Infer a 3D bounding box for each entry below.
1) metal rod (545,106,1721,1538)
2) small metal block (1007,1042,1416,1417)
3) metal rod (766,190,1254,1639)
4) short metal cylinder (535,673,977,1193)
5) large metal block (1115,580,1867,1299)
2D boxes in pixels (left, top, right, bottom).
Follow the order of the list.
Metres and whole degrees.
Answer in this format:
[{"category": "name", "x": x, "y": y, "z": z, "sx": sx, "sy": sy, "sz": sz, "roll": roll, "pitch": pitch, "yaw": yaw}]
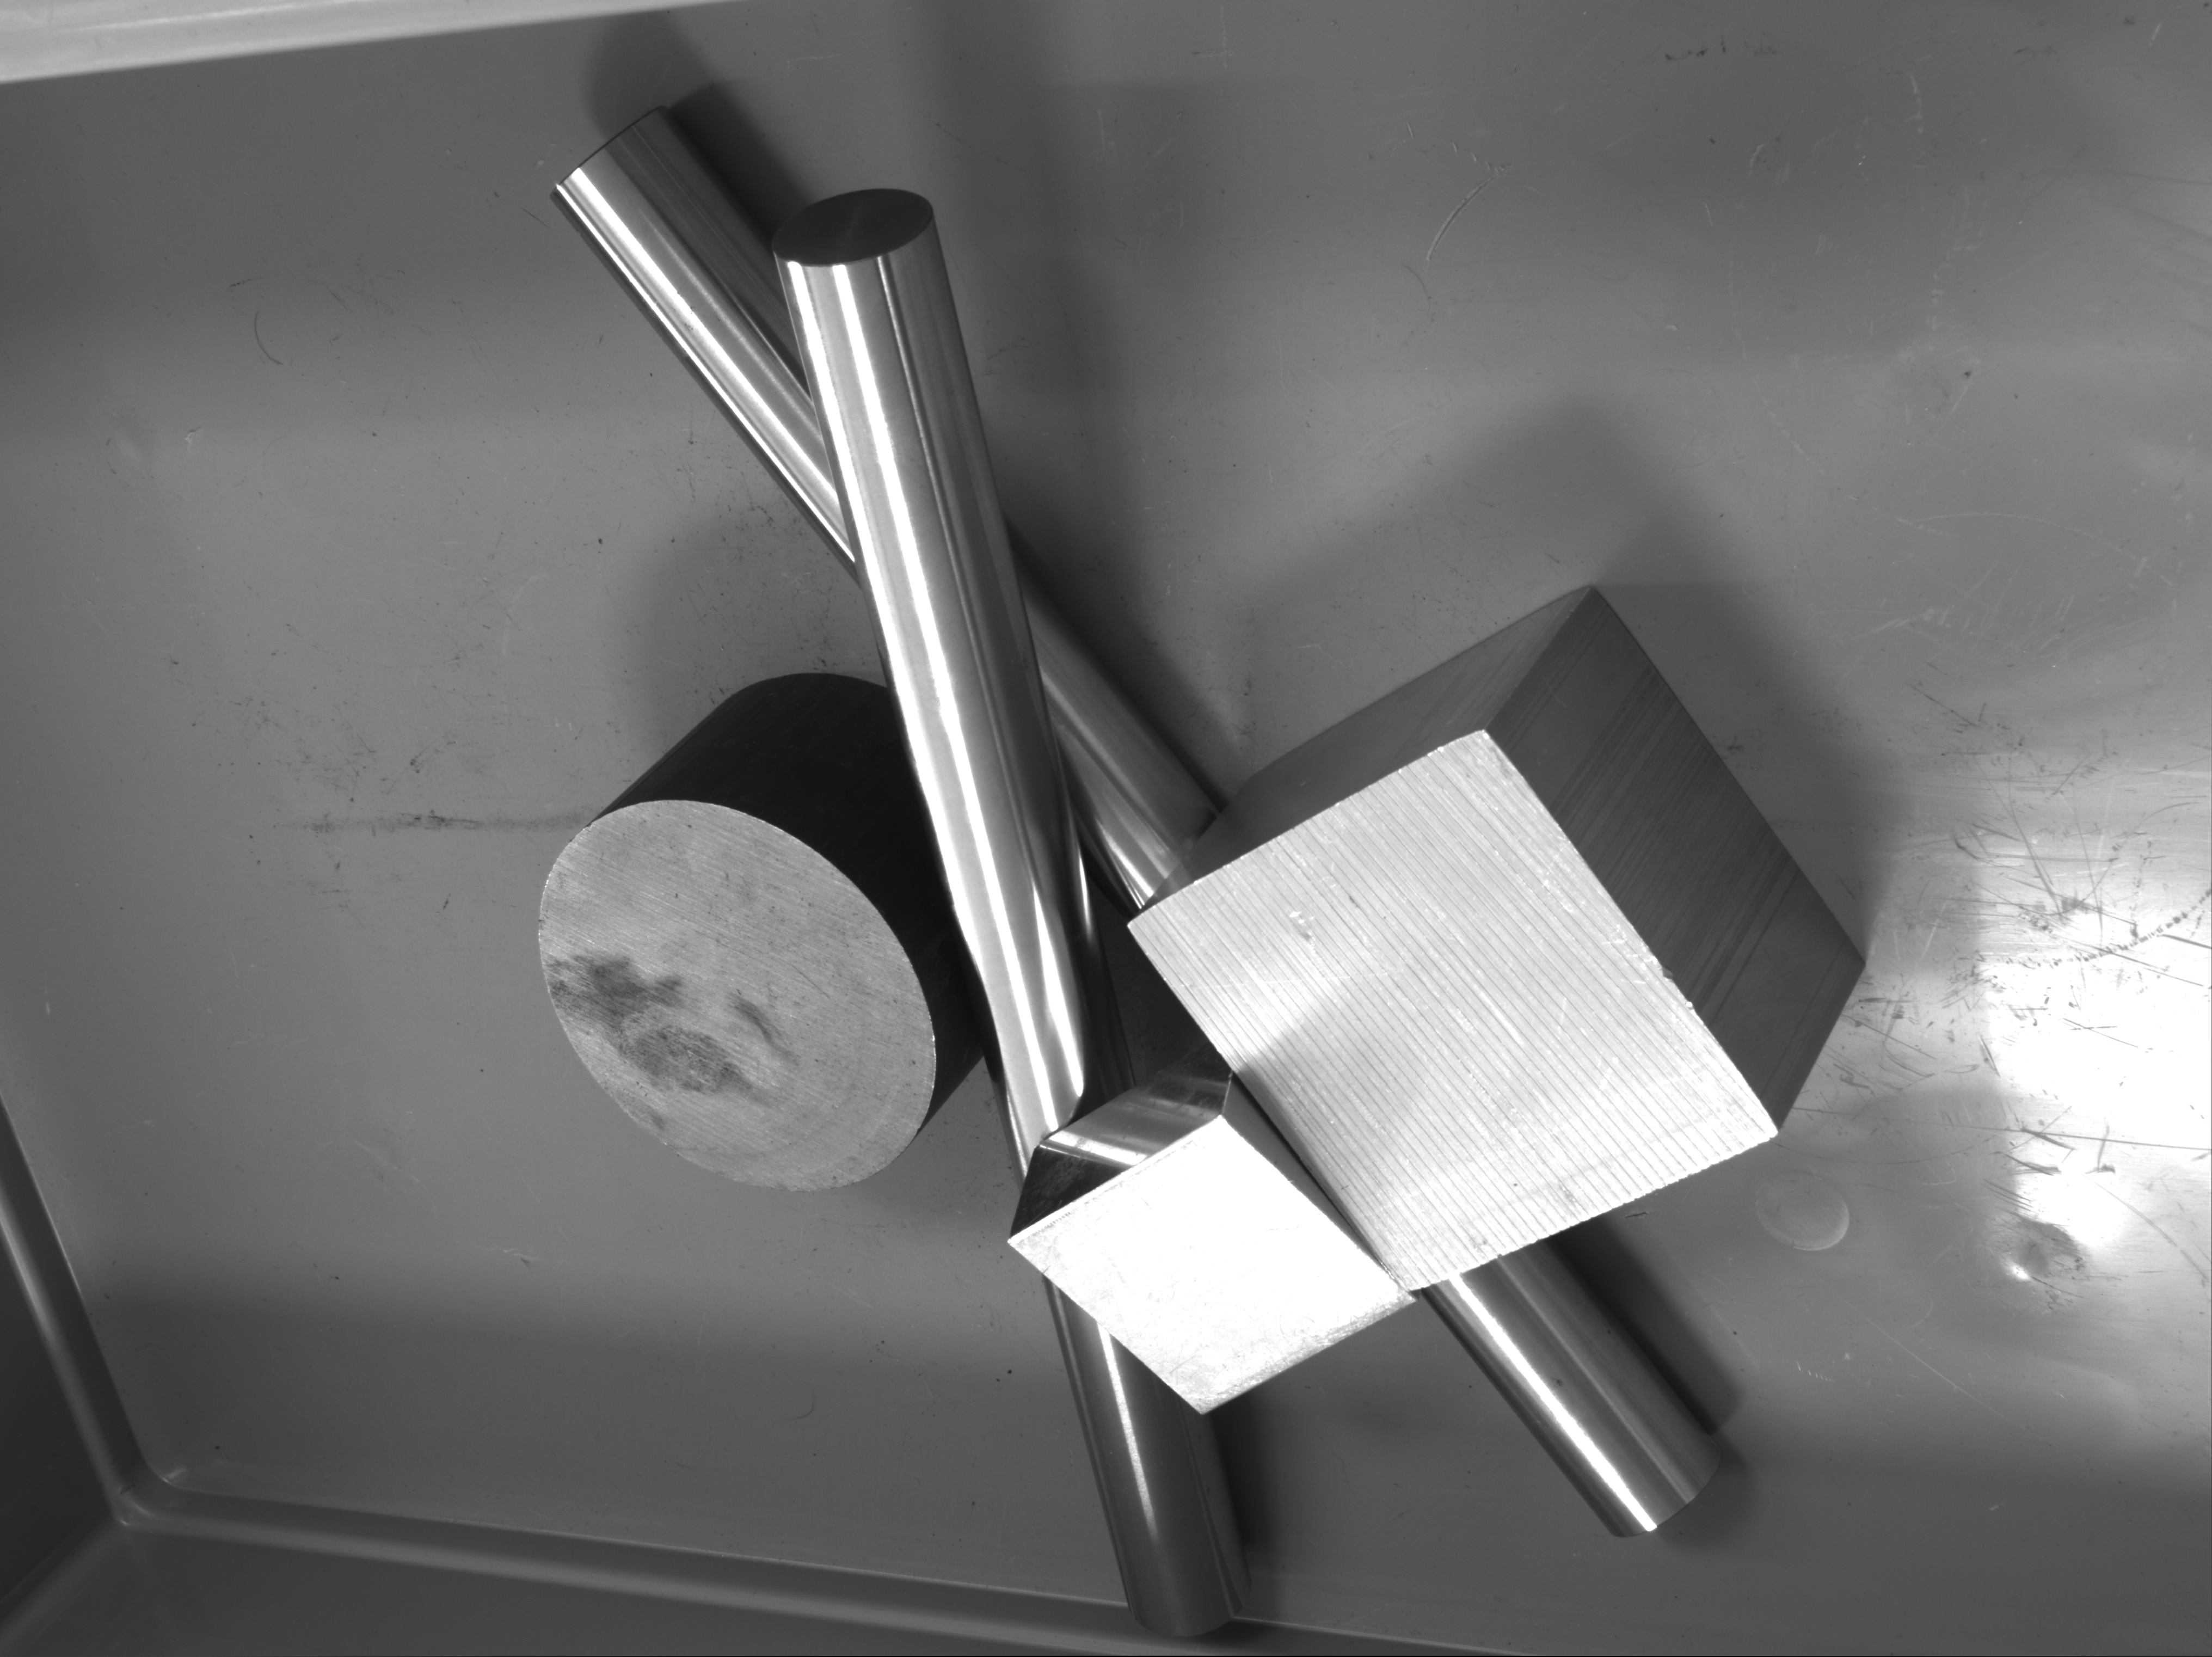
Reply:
[{"category": "metal rod", "x": 0.008, "y": 0.003, "z": 0.638, "sx": 0.025, "sy": 0.025, "sz": 0.300, "roll": -32, "pitch": 101, "yaw": 38}, {"category": "small metal block", "x": 0.020, "y": 0.067, "z": 0.631, "sx": 0.050, "sy": 0.025, "sz": 0.050, "roll": -34, "pitch": 114, "yaw": 30}, {"category": "metal rod", "x": -0.011, "y": 0.030, "z": 0.640, "sx": 0.025, "sy": 0.025, "sz": 0.300, "roll": 6, "pitch": 129, "yaw": 25}, {"category": "short metal cylinder", "x": -0.056, "y": 0.019, "z": 0.667, "sx": 0.080, "sy": 0.050, "sz": 0.080, "roll": 13, "pitch": 124, "yaw": 21}, {"category": "large metal block", "x": 0.063, "y": 0.019, "z": 0.602, "sx": 0.080, "sy": 0.050, "sz": 0.080, "roll": -31, "pitch": 101, "yaw": 38}]
